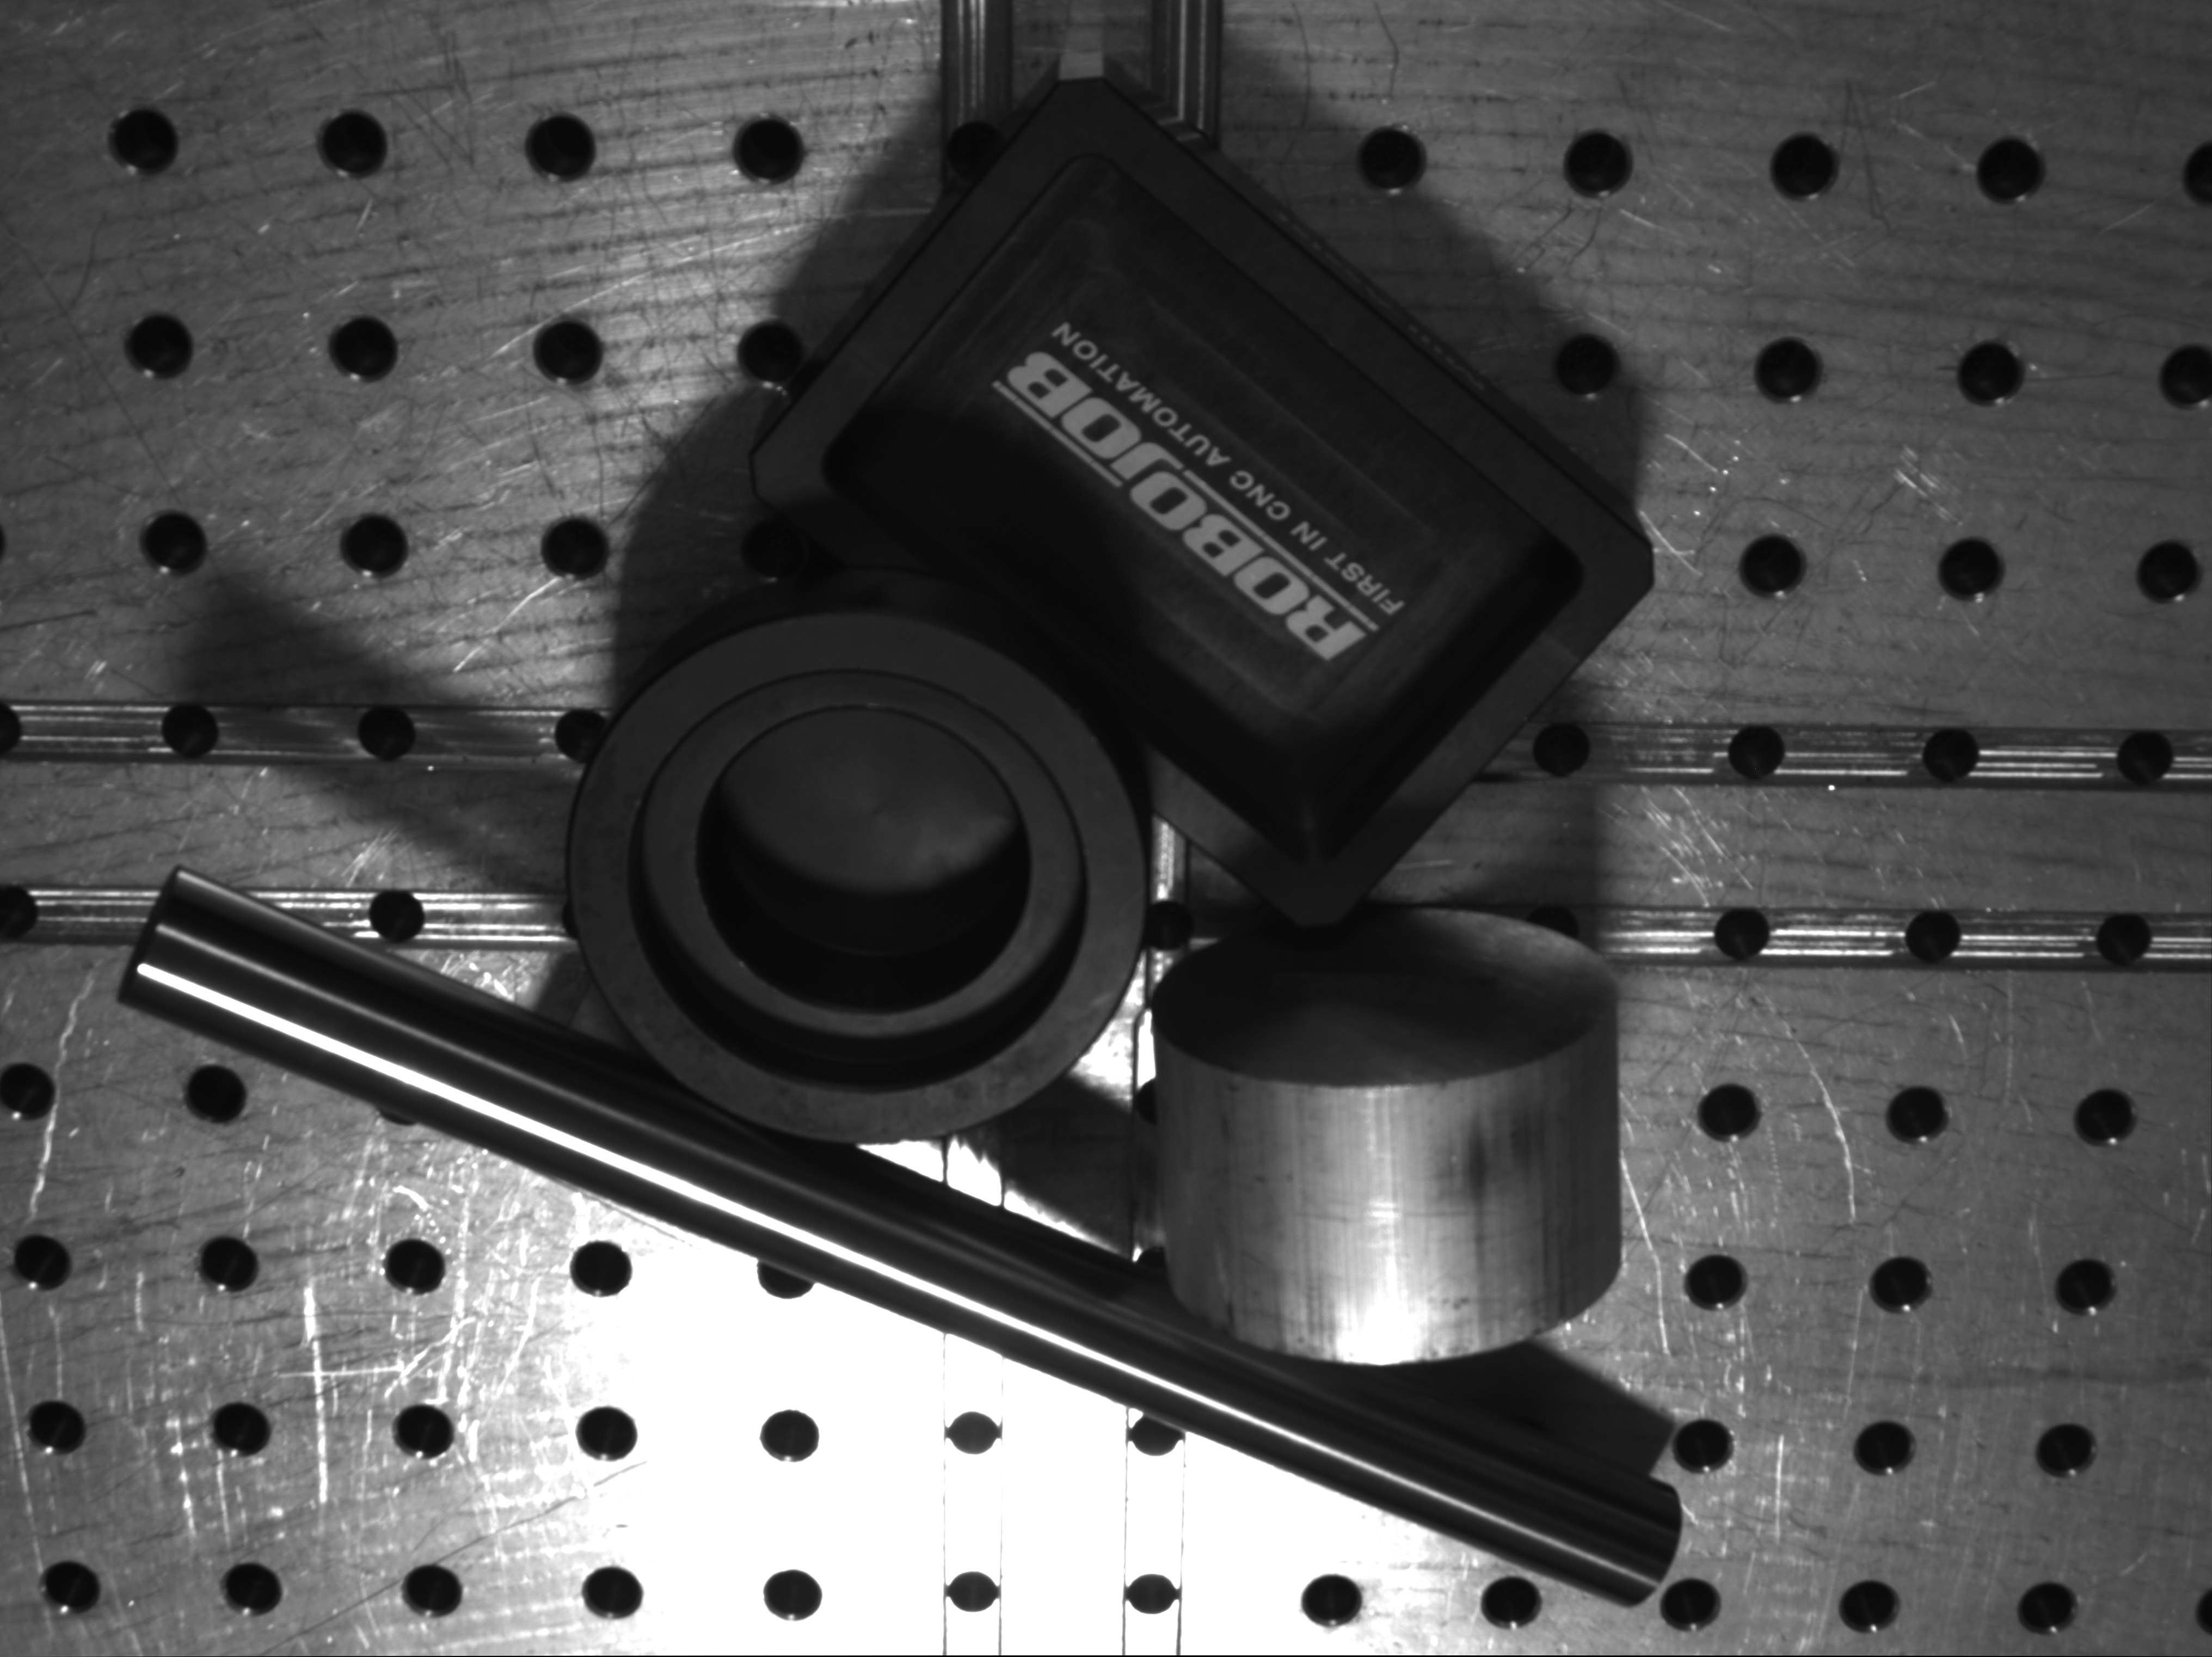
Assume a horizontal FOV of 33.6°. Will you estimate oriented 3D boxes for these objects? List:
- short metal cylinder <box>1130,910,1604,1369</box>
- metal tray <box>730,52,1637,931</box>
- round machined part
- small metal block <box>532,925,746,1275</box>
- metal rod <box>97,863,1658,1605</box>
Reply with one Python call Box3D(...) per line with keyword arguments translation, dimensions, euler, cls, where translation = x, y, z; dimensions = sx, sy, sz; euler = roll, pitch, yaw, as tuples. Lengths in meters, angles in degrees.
Box3D(translation=(0.046, 0.052, 0.634), dimensions=(0.080, 0.080, 0.050), euler=(-4, 110, 1), cls="short metal cylinder")
Box3D(translation=(0.013, -0.056, 0.622), dimensions=(0.130, 0.030, 0.090), euler=(38, 105, -13), cls="metal tray")
Box3D(translation=(-0.044, 0.002, 0.628), dimensions=(0.098, 0.042, 0.098), euler=(0, 110, 1), cls="round machined part")
Box3D(translation=(-0.078, 0.045, 0.661), dimensions=(0.050, 0.025, 0.050), euler=(27, 107, -10), cls="small metal block")
Box3D(translation=(-0.032, 0.077, 0.651), dimensions=(0.301, 0.025, 0.025), euler=(25, 108, -18), cls="metal rod")
